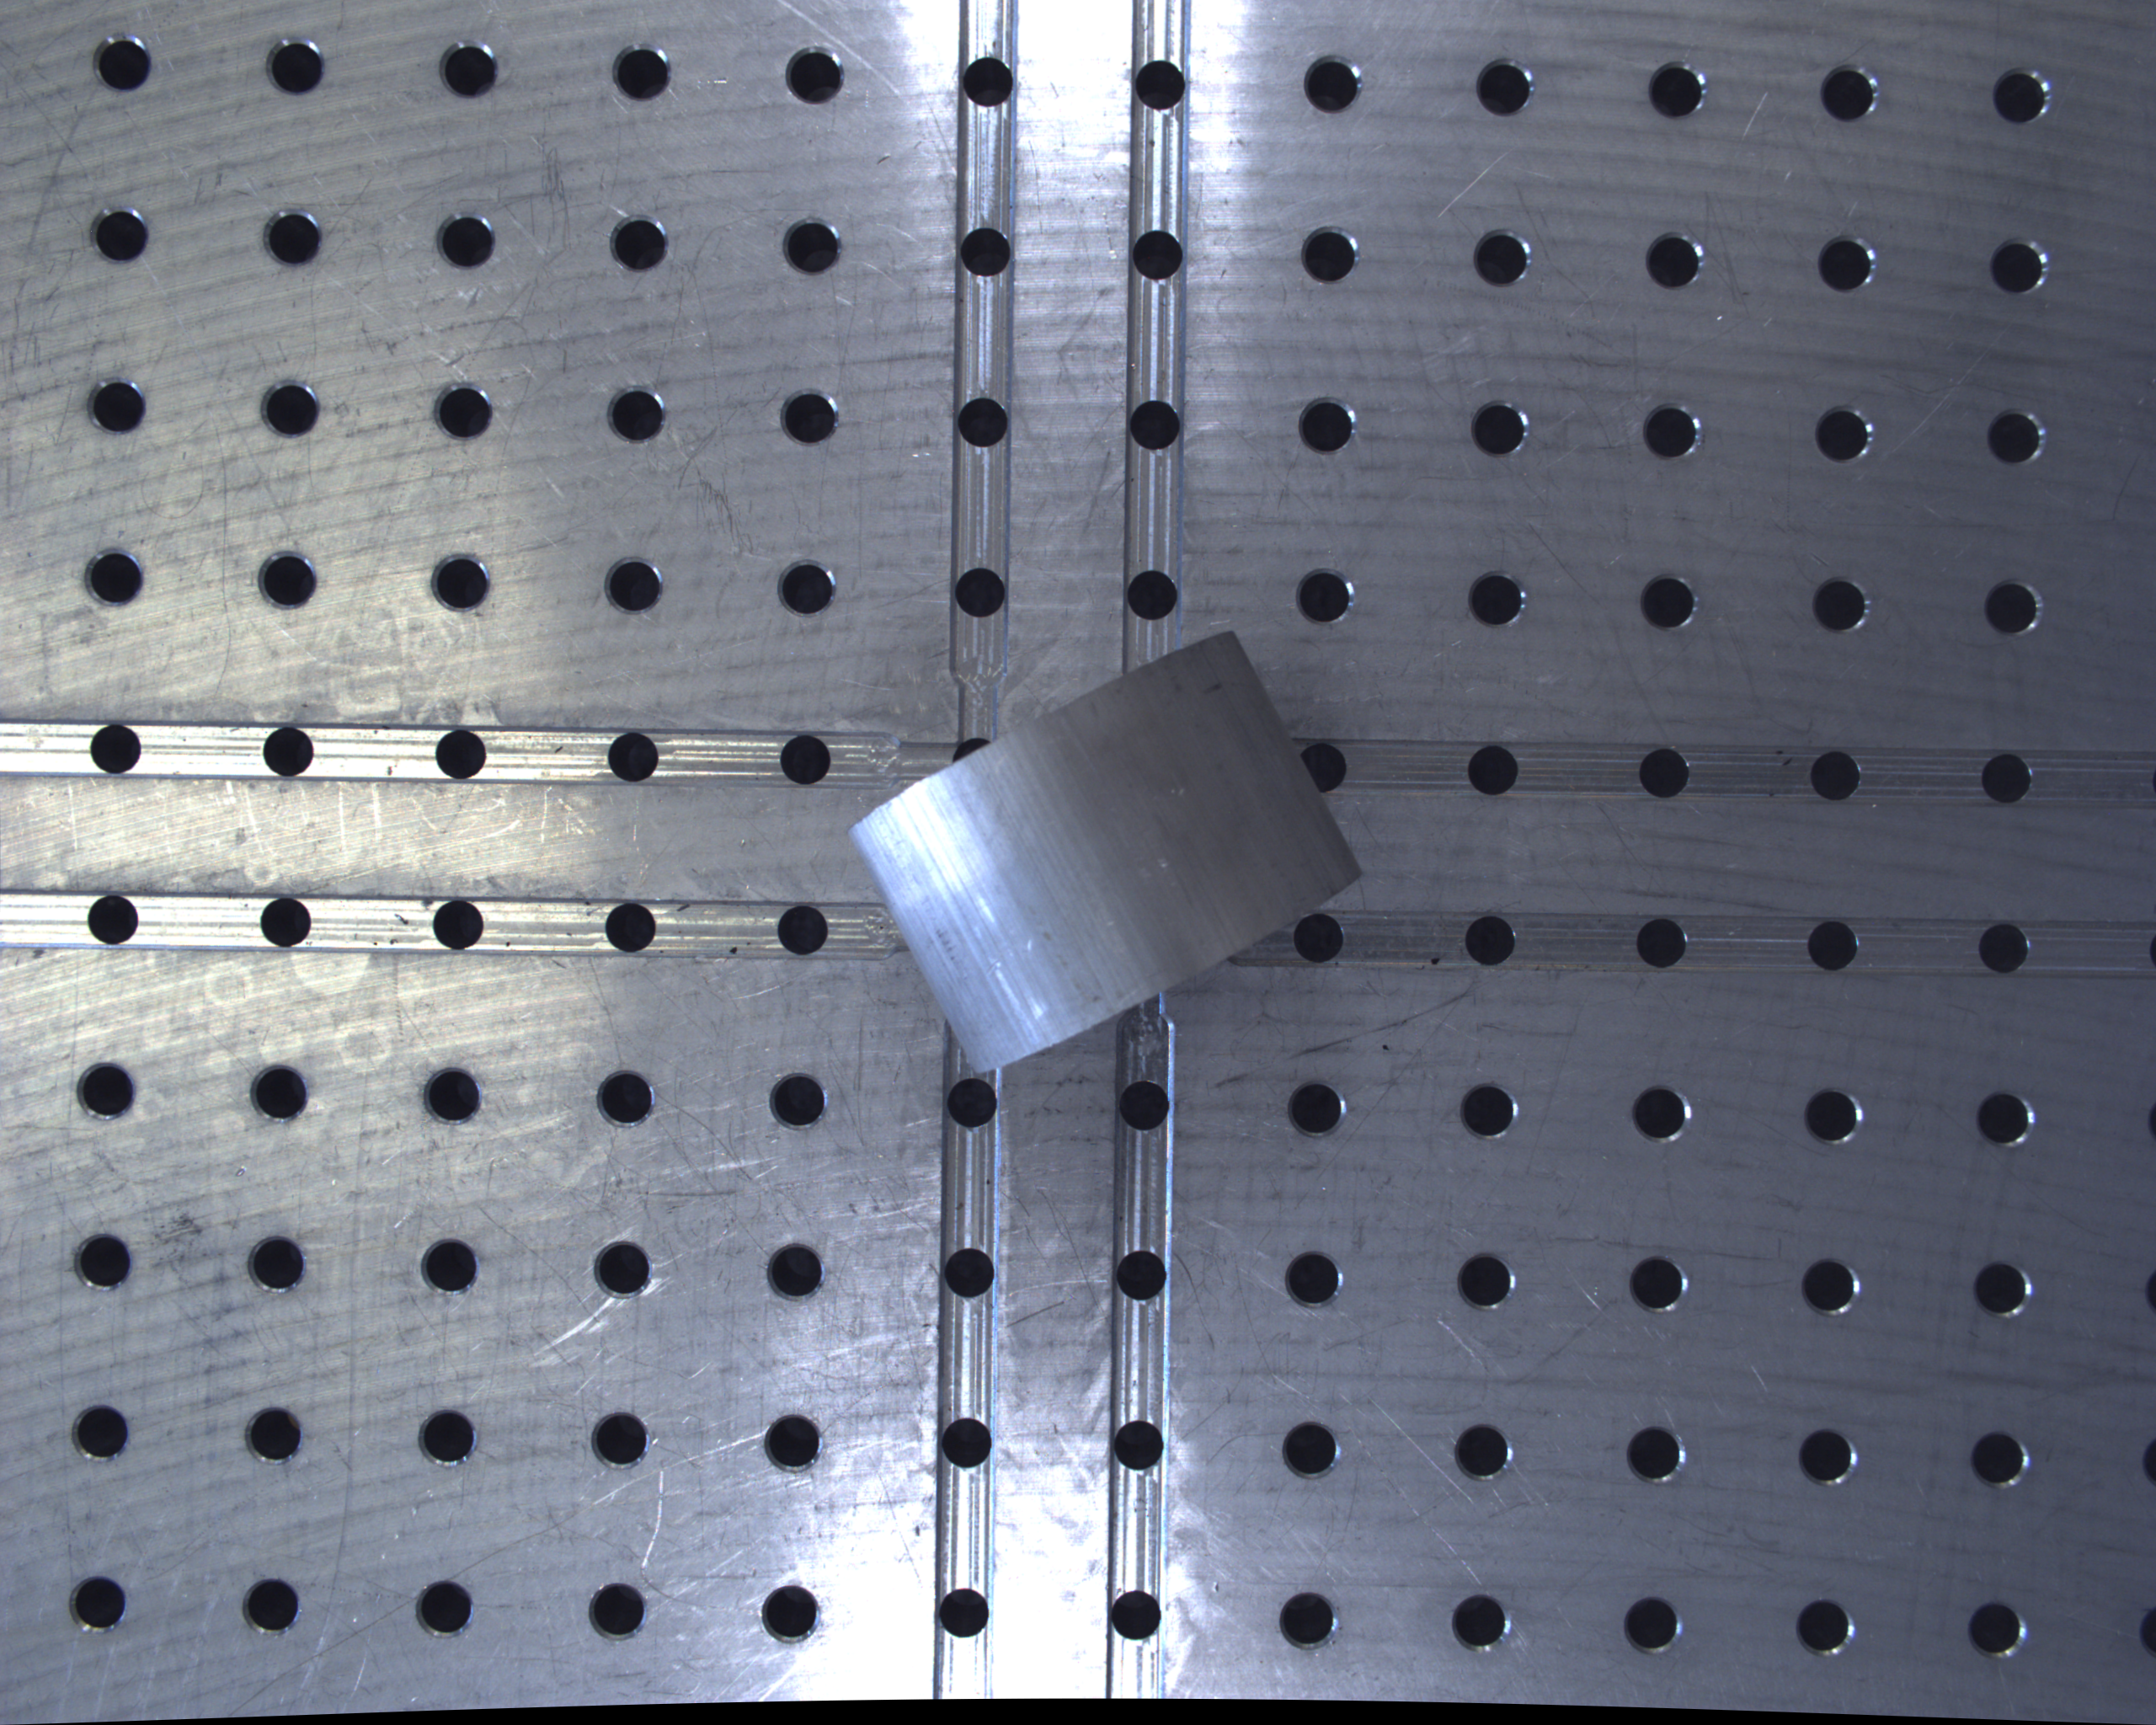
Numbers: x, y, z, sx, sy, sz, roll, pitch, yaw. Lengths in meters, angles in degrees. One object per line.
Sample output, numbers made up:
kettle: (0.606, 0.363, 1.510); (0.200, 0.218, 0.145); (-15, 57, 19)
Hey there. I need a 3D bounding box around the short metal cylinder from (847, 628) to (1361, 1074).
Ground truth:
short metal cylinder: (0.005, -0.002, 0.385); (0.080, 0.080, 0.050); (-28, 89, 0)
